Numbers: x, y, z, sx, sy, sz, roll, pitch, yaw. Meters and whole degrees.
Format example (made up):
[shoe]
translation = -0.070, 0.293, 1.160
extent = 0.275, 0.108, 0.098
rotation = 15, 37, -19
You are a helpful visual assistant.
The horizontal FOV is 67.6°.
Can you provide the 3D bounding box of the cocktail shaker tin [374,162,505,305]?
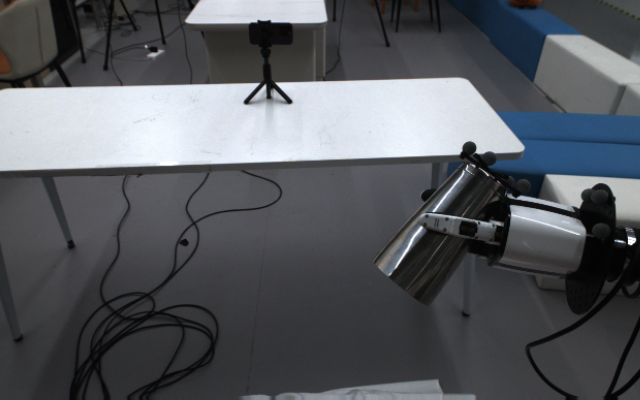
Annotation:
[cocktail shaker tin]
translation = 0.156, 0.035, 0.613
extent = 0.170, 0.093, 0.093
rotation = -50, 46, 4
